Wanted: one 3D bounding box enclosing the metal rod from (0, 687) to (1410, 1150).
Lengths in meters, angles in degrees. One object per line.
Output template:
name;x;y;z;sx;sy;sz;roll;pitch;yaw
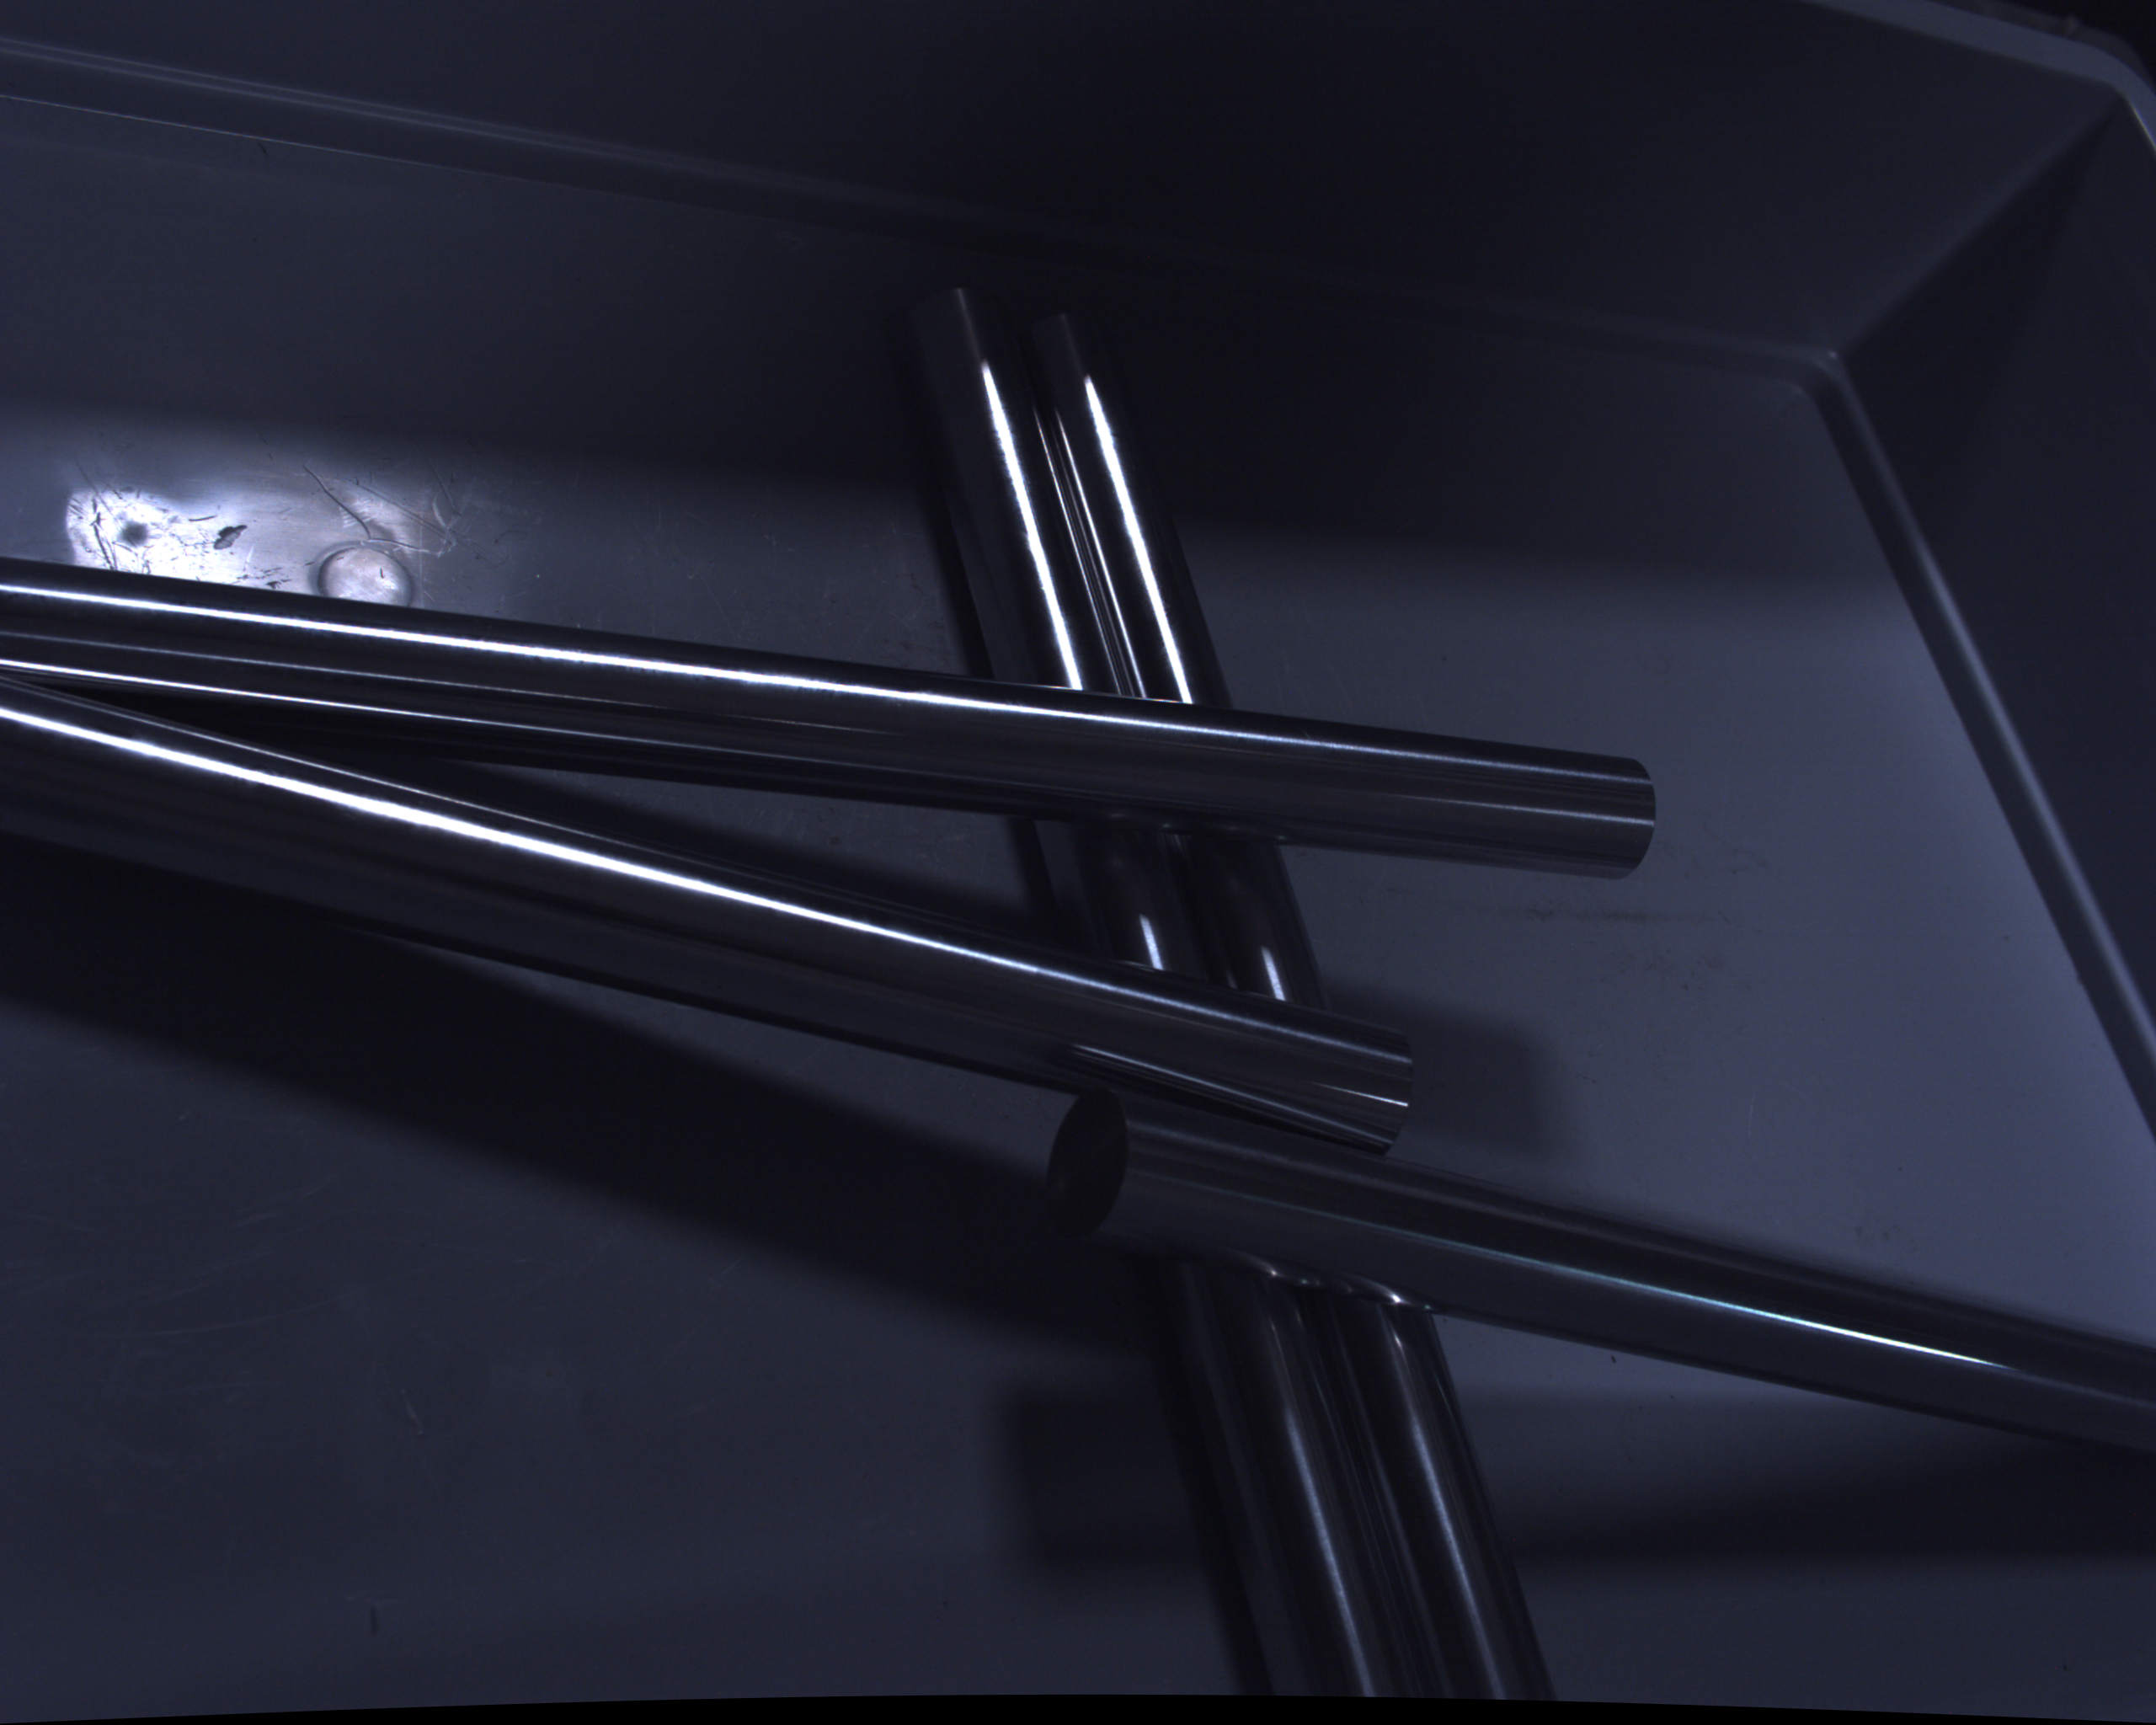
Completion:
metal rod;-0.088;0.006;0.338;0.302;0.025;0.025;15;56;-14

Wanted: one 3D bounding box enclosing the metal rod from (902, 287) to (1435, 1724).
metal rod;0.010;0.013;0.401;0.025;0.025;0.299;-1;62;-29

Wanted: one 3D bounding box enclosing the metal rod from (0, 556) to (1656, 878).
metal rod;-0.034;-0.023;0.376;0.302;0.025;0.025;6;59;-18

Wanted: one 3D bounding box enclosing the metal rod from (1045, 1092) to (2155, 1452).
metal rod;0.131;0.086;0.402;0.302;0.025;0.025;16;55;-26

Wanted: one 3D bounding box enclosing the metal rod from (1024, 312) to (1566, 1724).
metal rod;0.034;0.015;0.412;0.025;0.025;0.299;-1;62;-29
